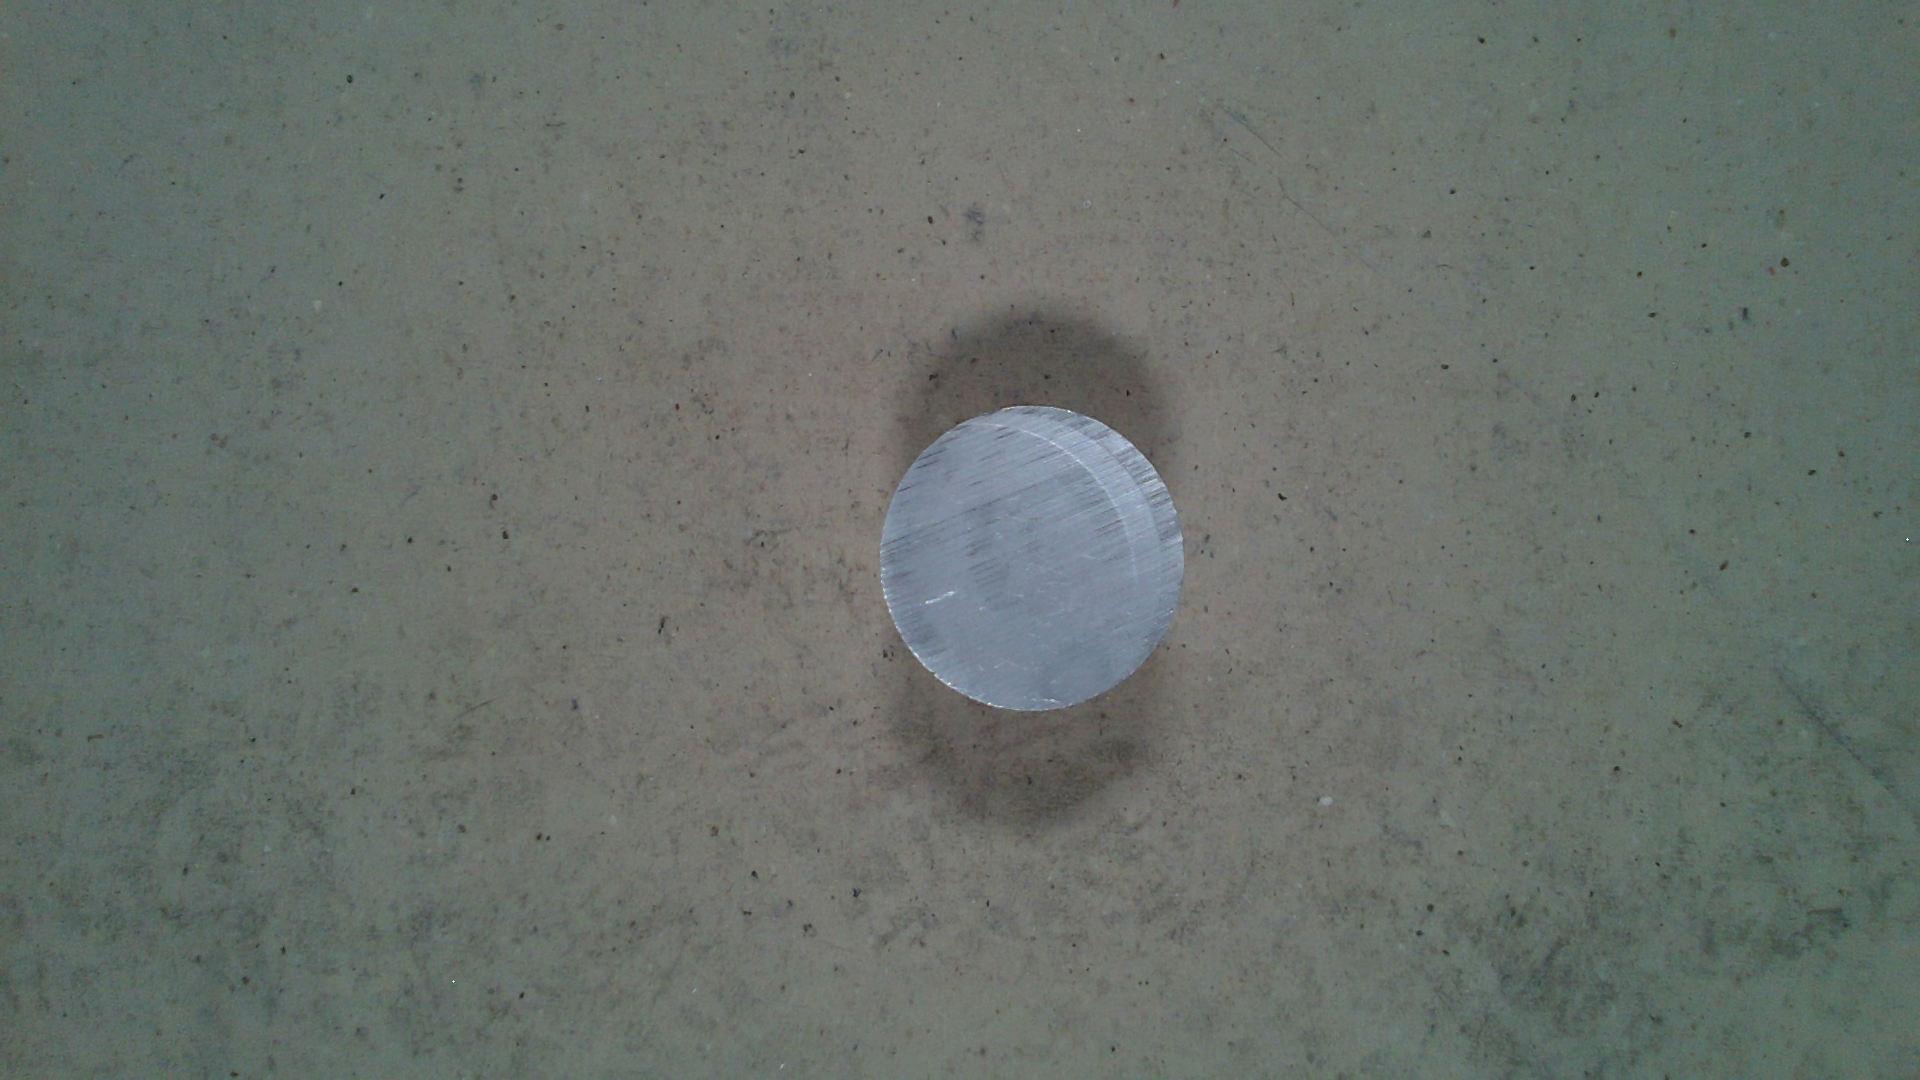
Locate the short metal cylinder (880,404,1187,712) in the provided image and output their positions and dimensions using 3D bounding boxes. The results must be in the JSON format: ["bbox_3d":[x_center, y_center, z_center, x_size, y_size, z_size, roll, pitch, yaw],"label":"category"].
[{"bbox_3d":[0.019,0.005,0.383,0.080,0.050,0.080,0,90,0],"label":"short metal cylinder"}]
